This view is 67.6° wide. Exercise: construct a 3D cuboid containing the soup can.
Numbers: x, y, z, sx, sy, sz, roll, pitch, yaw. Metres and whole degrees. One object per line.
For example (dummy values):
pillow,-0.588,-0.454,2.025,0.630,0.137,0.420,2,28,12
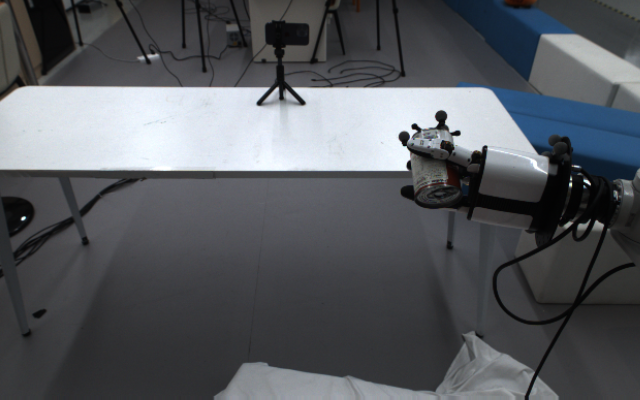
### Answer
soup can,0.169,-0.048,0.714,0.067,0.067,0.101,1,61,-2
